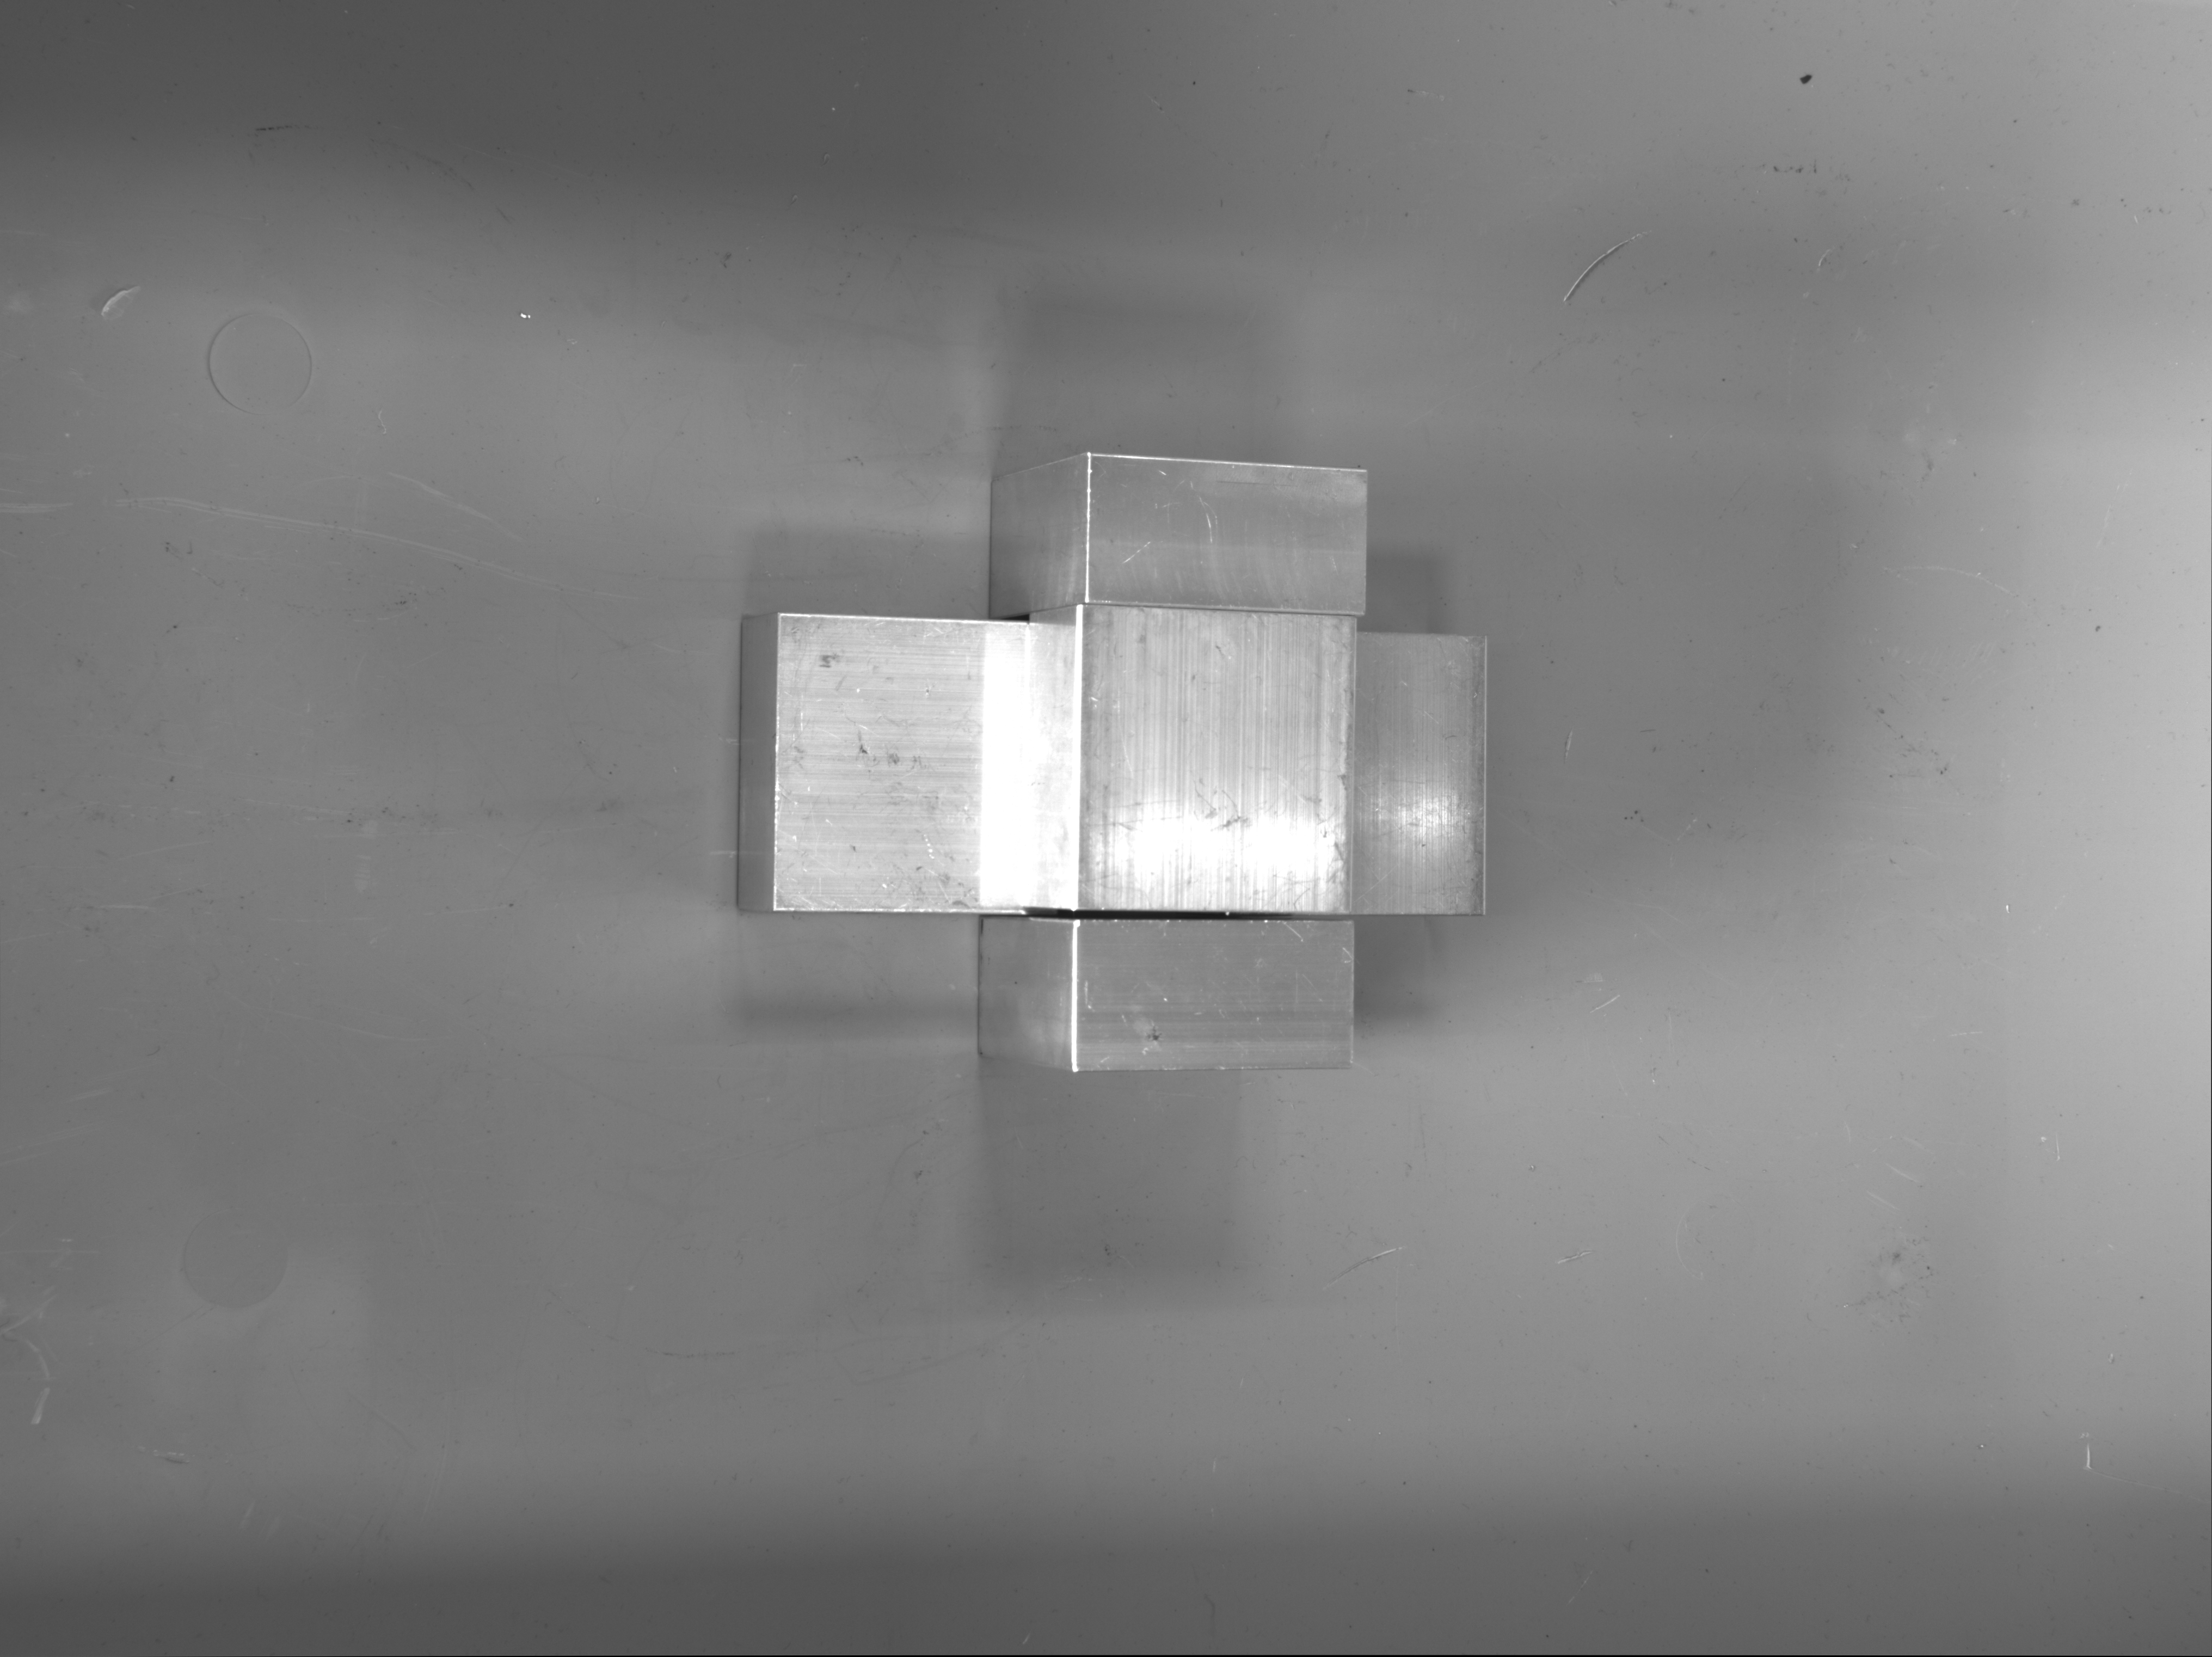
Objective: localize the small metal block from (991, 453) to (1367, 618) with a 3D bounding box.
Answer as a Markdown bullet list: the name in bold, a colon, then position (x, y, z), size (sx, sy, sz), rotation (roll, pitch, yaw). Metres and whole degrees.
- **small metal block**: position (0.012, -0.048, 0.632), size (0.050, 0.050, 0.025), rotation (1, 90, -20)

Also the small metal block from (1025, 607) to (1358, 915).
- **small metal block**: position (0.014, -0.011, 0.619), size (0.050, 0.025, 0.050), rotation (1, 90, -20)

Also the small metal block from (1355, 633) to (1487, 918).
- **small metal block**: position (0.040, -0.009, 0.656), size (0.050, 0.025, 0.050), rotation (1, 90, -20)

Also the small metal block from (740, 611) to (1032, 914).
- **small metal block**: position (-0.035, -0.011, 0.628), size (0.050, 0.025, 0.050), rotation (1, 90, -20)

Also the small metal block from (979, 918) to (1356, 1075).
- **small metal block**: position (0.010, 0.028, 0.630), size (0.050, 0.050, 0.025), rotation (1, 90, -20)
